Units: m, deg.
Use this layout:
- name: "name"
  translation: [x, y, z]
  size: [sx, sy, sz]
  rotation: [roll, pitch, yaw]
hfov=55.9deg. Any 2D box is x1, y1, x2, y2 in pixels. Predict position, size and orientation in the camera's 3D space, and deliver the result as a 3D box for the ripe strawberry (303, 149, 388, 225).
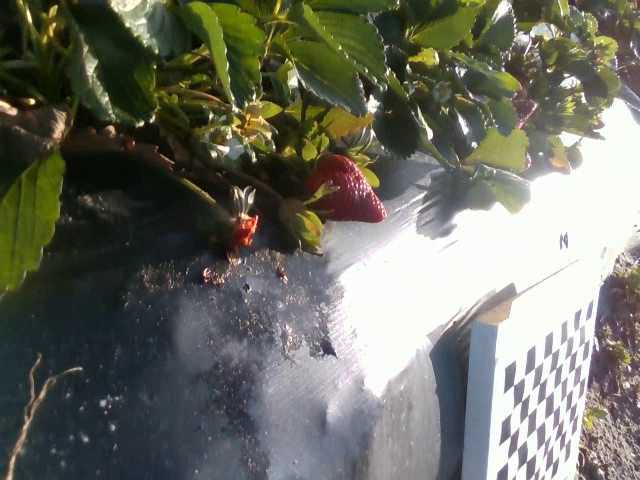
- name: "ripe strawberry"
  translation: [0.021, -0.026, 0.363]
  size: [0.051, 0.052, 0.041]
  rotation: [31, -36, 13]
